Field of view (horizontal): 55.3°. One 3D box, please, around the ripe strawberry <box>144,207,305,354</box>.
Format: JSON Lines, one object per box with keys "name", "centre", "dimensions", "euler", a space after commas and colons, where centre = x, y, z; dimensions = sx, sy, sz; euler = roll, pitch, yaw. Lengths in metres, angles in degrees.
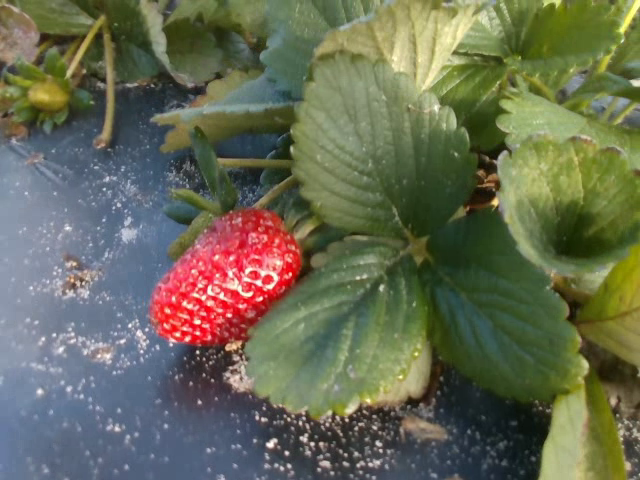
{"name": "ripe strawberry", "centre": [-0.020, 0.007, 0.112], "dimensions": [0.030, 0.021, 0.036], "euler": [23, 46, 40]}
